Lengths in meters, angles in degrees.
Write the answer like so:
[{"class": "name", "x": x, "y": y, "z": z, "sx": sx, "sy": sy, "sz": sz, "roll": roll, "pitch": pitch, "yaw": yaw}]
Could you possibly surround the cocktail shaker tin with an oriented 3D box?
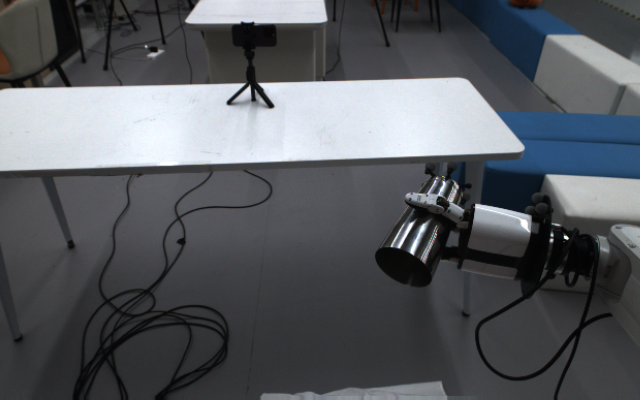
[{"class": "cocktail shaker tin", "x": 0.167, "y": 0.037, "z": 0.759, "sx": 0.093, "sy": 0.093, "sz": 0.170, "roll": 19, "pitch": 54, "yaw": 22}]
